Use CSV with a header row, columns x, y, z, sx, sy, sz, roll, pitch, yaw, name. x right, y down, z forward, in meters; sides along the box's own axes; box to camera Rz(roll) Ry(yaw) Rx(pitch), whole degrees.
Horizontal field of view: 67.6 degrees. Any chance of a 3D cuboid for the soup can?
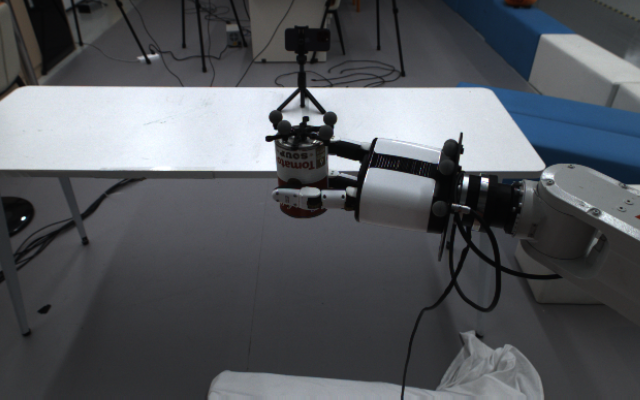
x,y,z,sx,sy,sz,roll,pitch,yaw,name
-0.020,-0.038,0.624,0.067,0.101,0.067,-2,34,1,soup can
